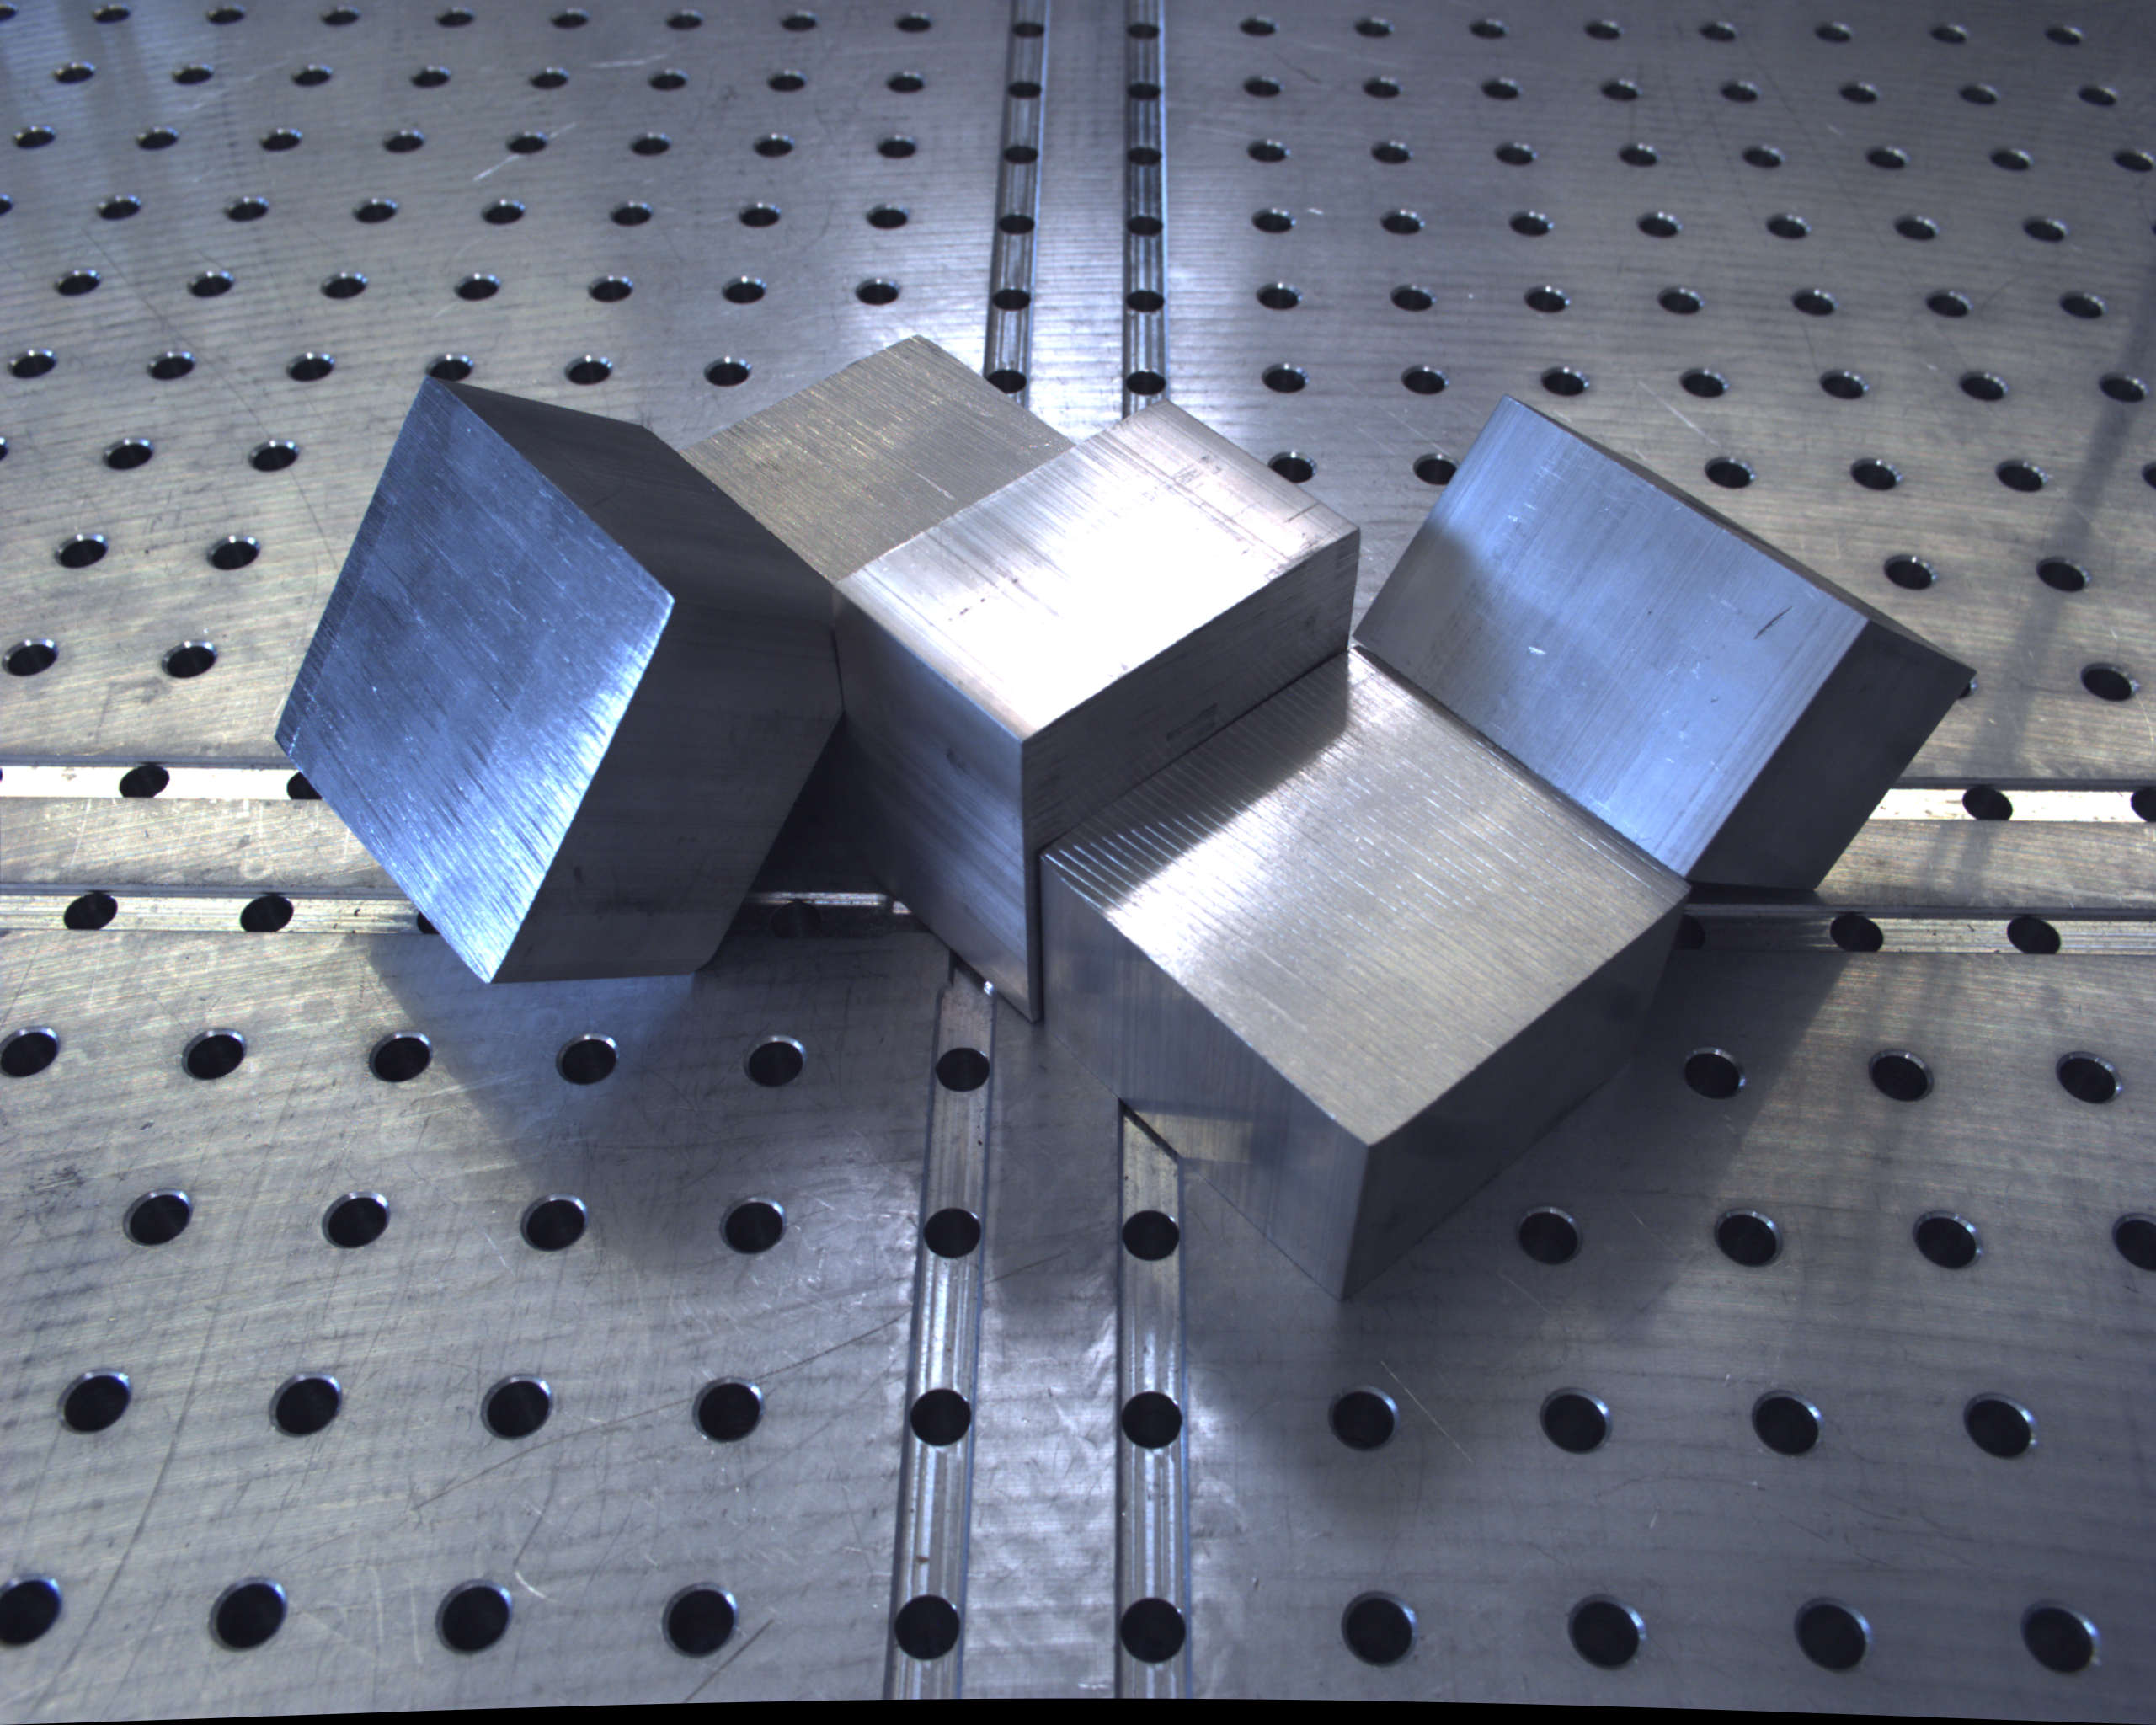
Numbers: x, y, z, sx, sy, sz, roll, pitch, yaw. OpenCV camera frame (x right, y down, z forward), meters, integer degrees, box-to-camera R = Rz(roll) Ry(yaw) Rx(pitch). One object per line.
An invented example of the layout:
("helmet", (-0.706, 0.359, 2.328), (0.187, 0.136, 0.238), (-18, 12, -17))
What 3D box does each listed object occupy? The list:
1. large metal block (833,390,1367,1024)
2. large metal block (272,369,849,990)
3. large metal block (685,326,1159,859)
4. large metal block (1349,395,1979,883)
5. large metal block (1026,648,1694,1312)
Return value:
("large metal block", (0.004, -0.029, 0.396), (0.080, 0.080, 0.050), (-35, 59, -26))
("large metal block", (-0.095, -0.033, 0.390), (0.080, 0.080, 0.050), (42, 22, 29))
("large metal block", (-0.038, -0.057, 0.439), (0.080, 0.050, 0.080), (-35, 59, -24))
("large metal block", (0.113, -0.040, 0.399), (0.080, 0.050, 0.080), (42, 21, 28))
("large metal block", (0.048, 0.018, 0.376), (0.080, 0.050, 0.080), (-34, 56, -25))
